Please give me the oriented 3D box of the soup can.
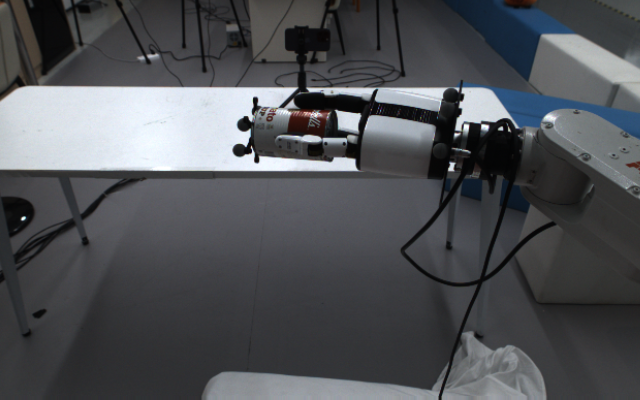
[{"bbox_3d":[-0.031,-0.088,0.642,0.101,0.067,0.067,5,35,13],"label":"soup can"}]
